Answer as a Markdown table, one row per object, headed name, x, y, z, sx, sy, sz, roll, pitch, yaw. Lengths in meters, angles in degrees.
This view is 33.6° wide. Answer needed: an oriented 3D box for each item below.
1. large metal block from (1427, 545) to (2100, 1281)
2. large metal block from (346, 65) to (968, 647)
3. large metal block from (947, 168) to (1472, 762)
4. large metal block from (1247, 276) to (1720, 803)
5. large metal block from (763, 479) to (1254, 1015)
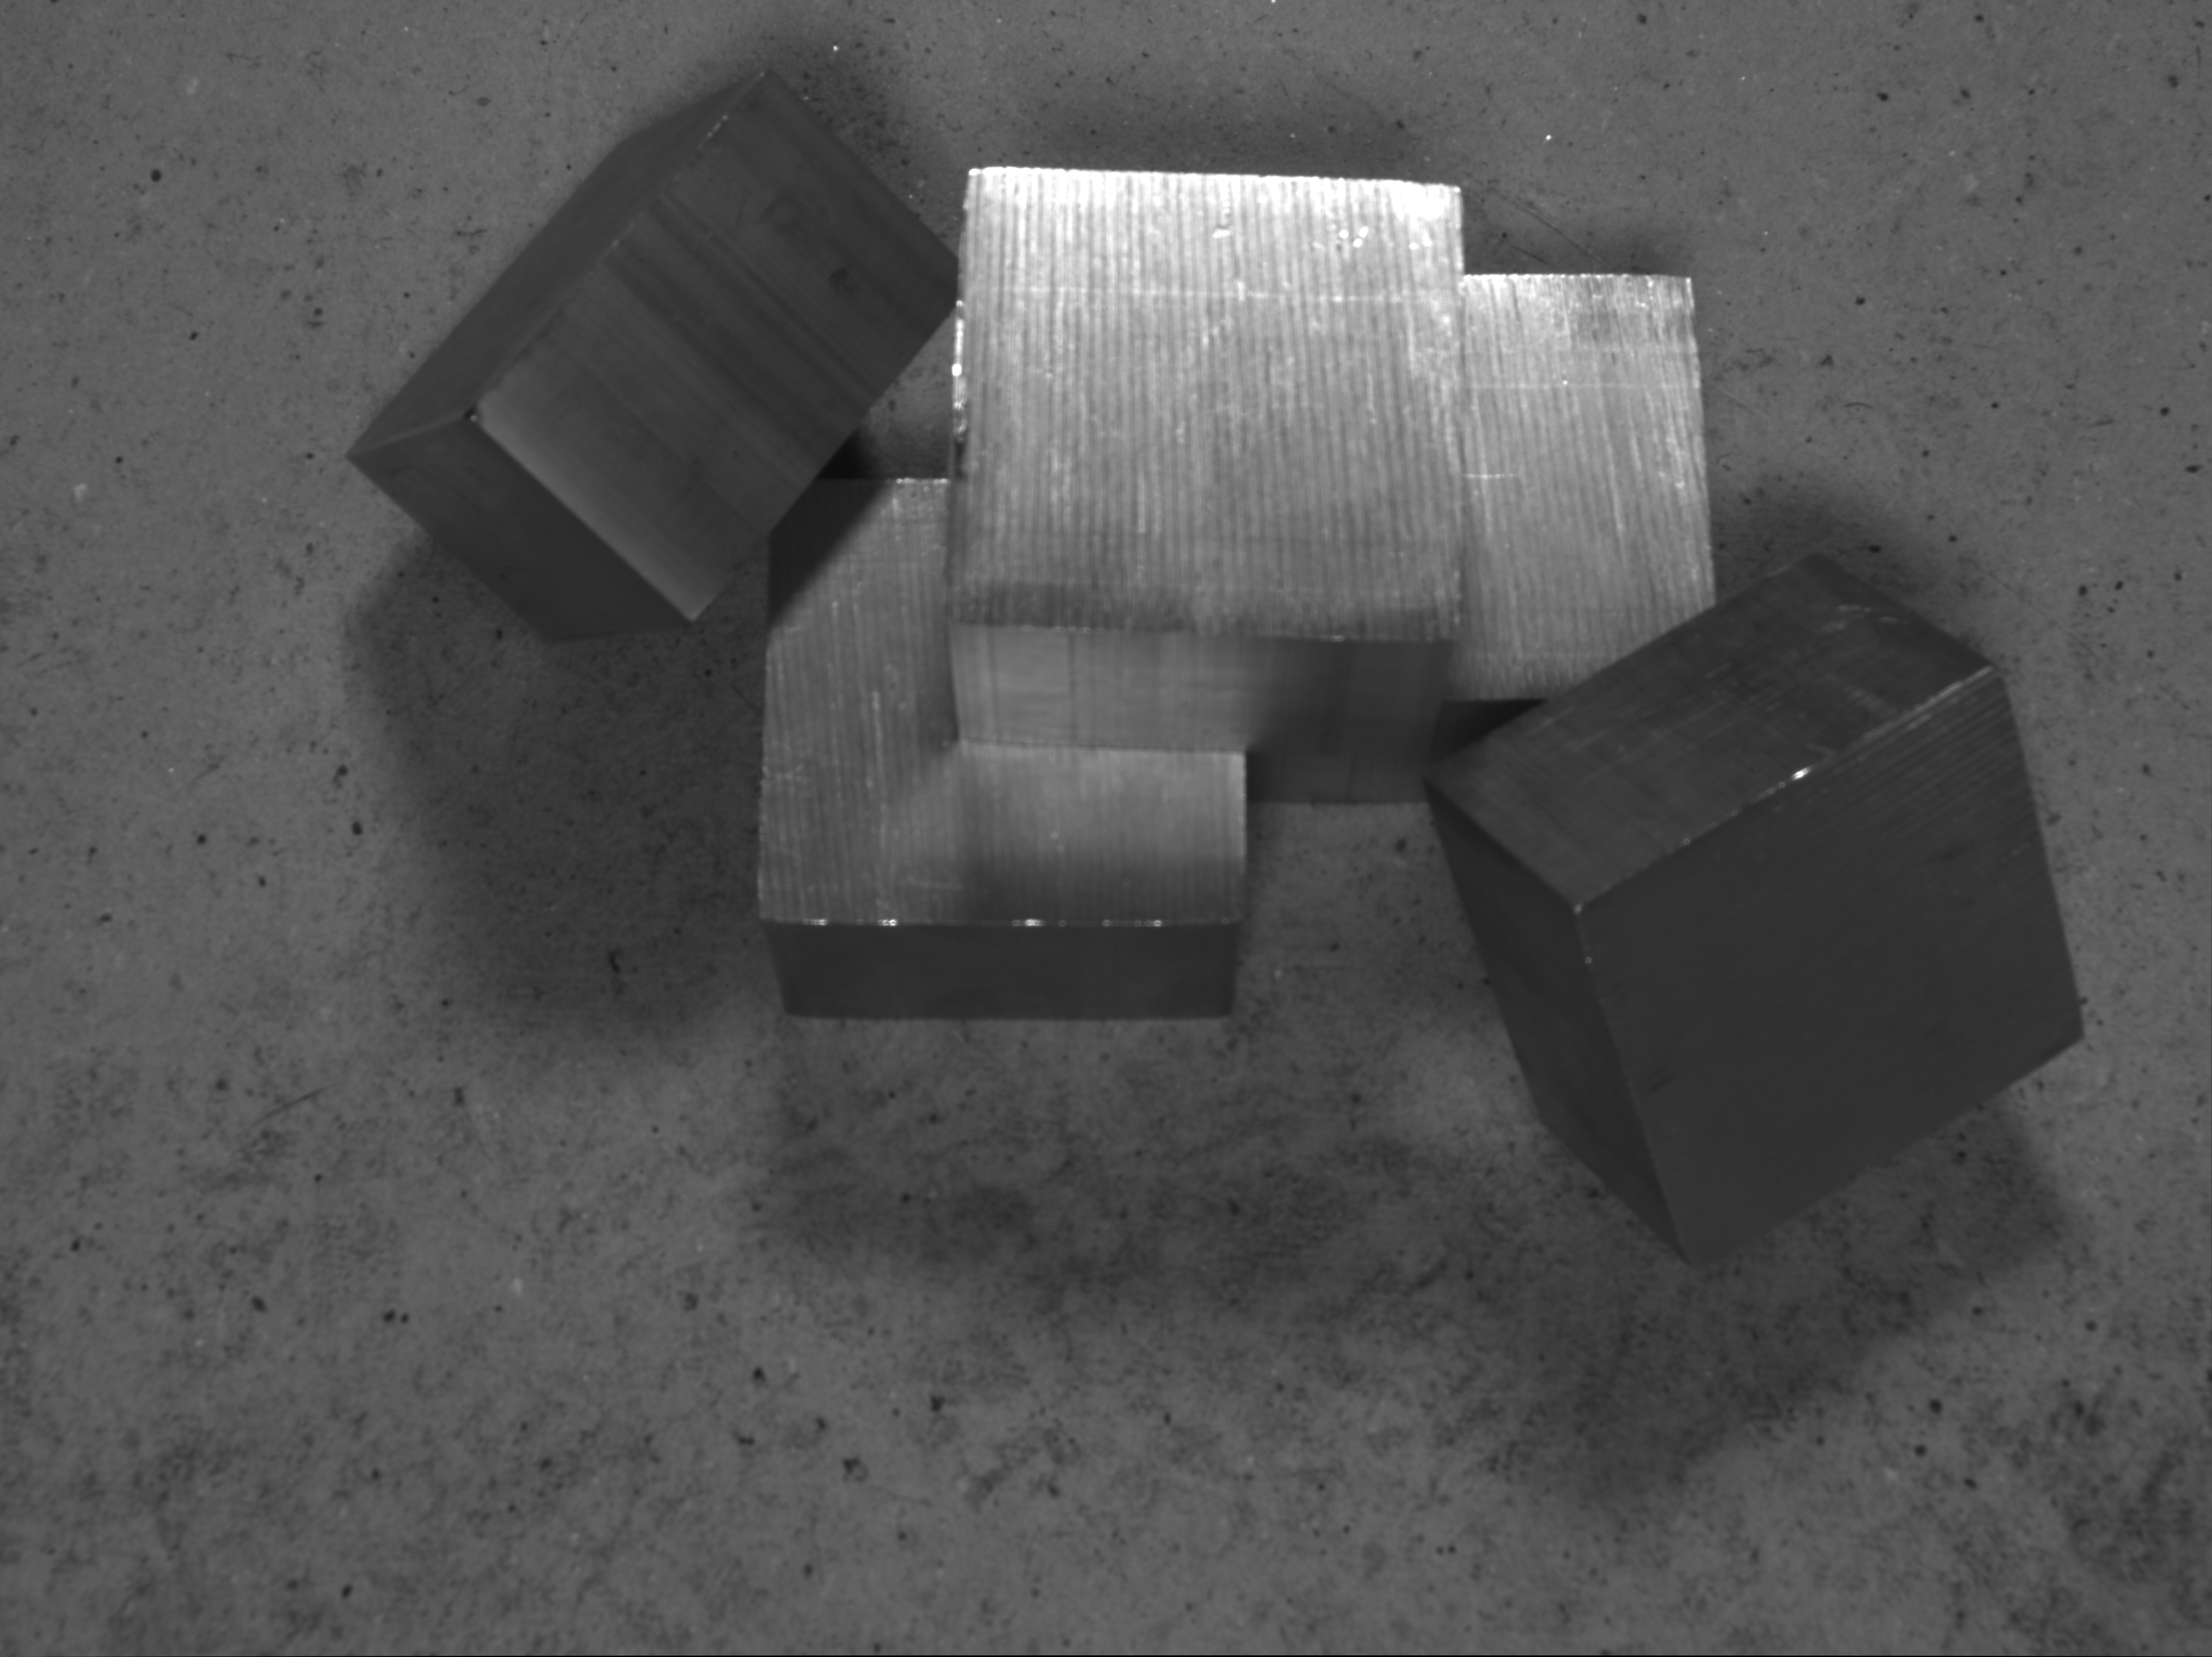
| name | x | y | z | sx | sy | sz | roll | pitch | yaw |
| --- | --- | --- | --- | --- | --- | --- | --- | --- | --- |
| large metal block | 0.109 | 0.013 | 0.604 | 0.080 | 0.080 | 0.050 | -29 | 34 | -10 |
| large metal block | -0.078 | -0.080 | 0.638 | 0.050 | 0.080 | 0.080 | 43 | 73 | -20 |
| large metal block | 0.017 | -0.059 | 0.598 | 0.080 | 0.050 | 0.080 | 2 | 70 | 1 |
| large metal block | 0.064 | -0.051 | 0.651 | 0.080 | 0.050 | 0.080 | 0 | 70 | 0 |
| large metal block | -0.016 | -0.013 | 0.634 | 0.080 | 0.050 | 0.080 | 0 | 70 | 0 |
